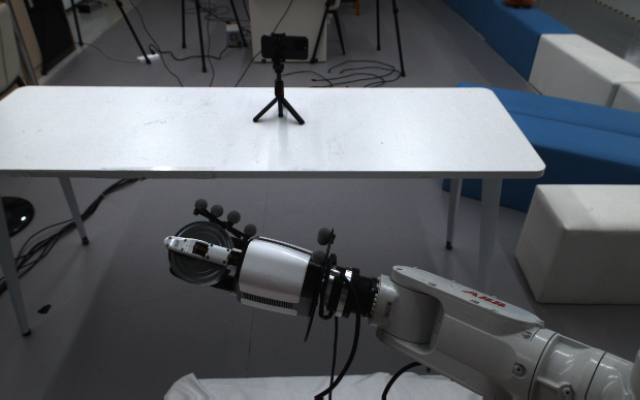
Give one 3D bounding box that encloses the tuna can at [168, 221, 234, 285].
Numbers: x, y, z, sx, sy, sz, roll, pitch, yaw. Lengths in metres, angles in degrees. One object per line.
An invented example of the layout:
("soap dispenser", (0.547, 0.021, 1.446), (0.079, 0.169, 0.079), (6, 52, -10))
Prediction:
("tuna can", (-0.157, 0.073, 0.658), (0.085, 0.034, 0.085), (0, 72, 0))
